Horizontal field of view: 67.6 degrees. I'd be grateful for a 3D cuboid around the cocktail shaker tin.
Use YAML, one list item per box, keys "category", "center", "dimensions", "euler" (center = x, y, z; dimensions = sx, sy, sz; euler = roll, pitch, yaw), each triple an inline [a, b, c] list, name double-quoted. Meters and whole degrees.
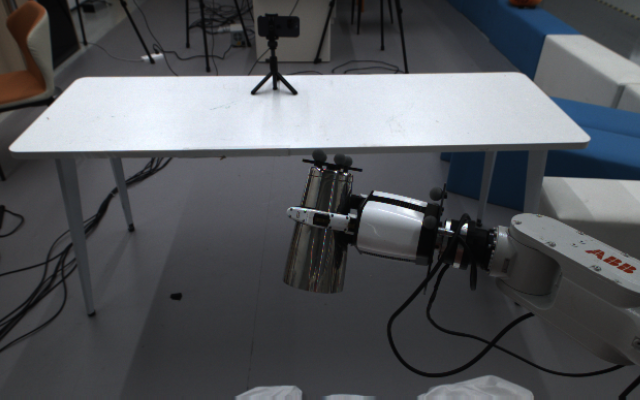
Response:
- category: "cocktail shaker tin"
  center: [0.004, 0.041, 0.712]
  dimensions: [0.093, 0.170, 0.093]
  euler: [9, 3, 0]
